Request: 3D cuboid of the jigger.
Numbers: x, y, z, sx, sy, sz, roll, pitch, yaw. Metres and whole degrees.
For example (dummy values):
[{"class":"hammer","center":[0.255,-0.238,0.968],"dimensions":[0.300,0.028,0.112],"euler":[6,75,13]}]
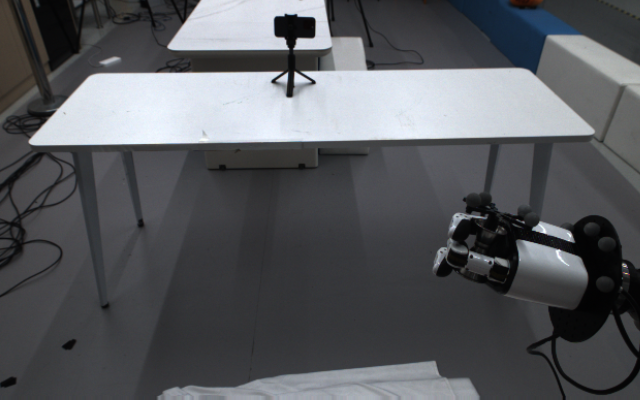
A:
[{"class":"jigger","center":[0.202,0.062,0.605],"dimensions":[0.043,0.071,0.043],"euler":[15,16,-5]}]
